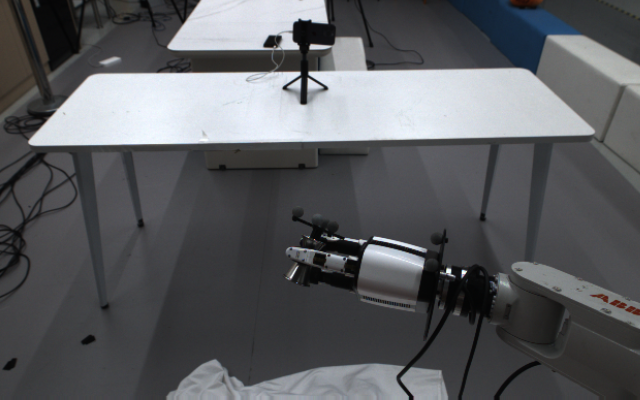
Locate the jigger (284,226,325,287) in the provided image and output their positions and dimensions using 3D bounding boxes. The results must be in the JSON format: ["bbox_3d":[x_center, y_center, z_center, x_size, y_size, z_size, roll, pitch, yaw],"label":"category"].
[{"bbox_3d":[-0.023,0.087,0.709,0.043,0.071,0.043,24,-3,1],"label":"jigger"}]
